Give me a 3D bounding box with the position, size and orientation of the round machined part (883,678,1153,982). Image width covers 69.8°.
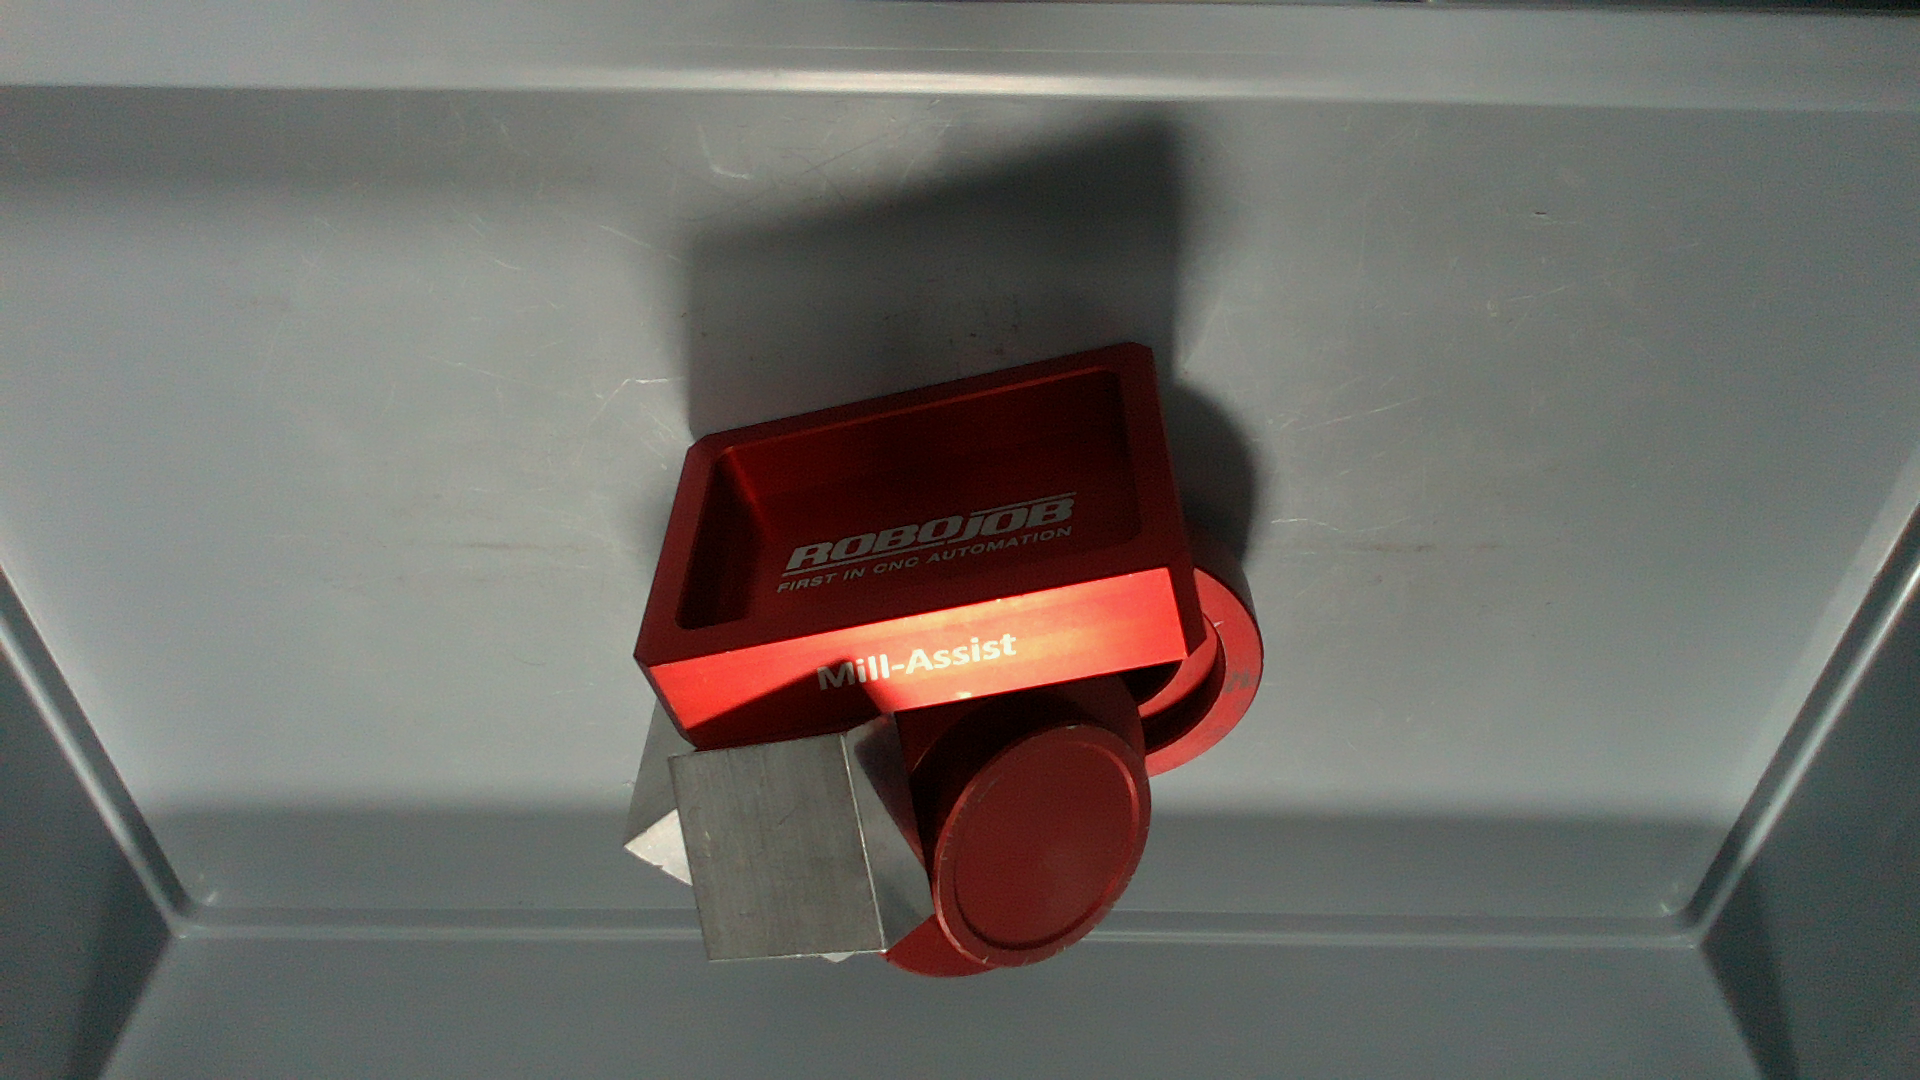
[{"bbox_3d":[0.012,0.073,0.364,0.098,0.042,0.098,-12,112,-31],"label":"round machined part"}]

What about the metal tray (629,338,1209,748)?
[{"bbox_3d":[-0.010,-0.001,0.345,0.130,0.090,0.030,-12,130,10],"label":"metal tray"}]

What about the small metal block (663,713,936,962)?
[{"bbox_3d":[-0.038,0.070,0.328,0.050,0.025,0.050,-11,92,25],"label":"small metal block"}]

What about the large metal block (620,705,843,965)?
[{"bbox_3d":[-0.046,0.065,0.408,0.050,0.080,0.080,-36,121,27],"label":"large metal block"}]

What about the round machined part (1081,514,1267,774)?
[{"bbox_3d":[0.036,0.024,0.400,0.098,0.042,0.098,0,130,0],"label":"round machined part"}]
